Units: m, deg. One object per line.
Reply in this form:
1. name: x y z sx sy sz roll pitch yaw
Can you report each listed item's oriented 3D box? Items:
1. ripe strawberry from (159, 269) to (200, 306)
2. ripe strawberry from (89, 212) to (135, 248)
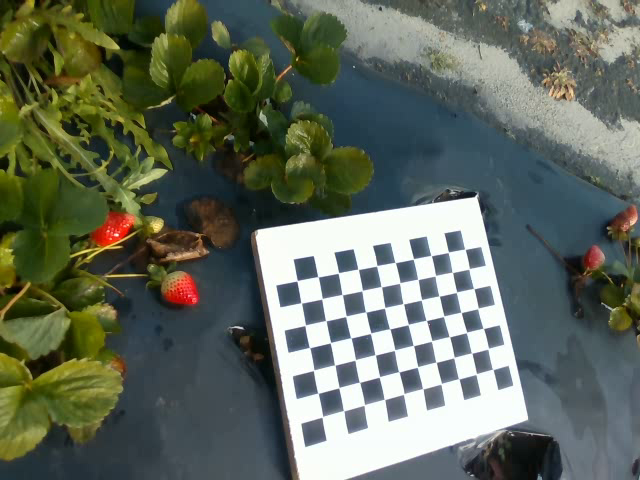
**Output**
1. ripe strawberry: -0.137 0.050 0.583 0.043 0.035 0.029 42 -22 -4
2. ripe strawberry: -0.199 -0.014 0.569 0.048 0.040 0.031 -25 -1 19
